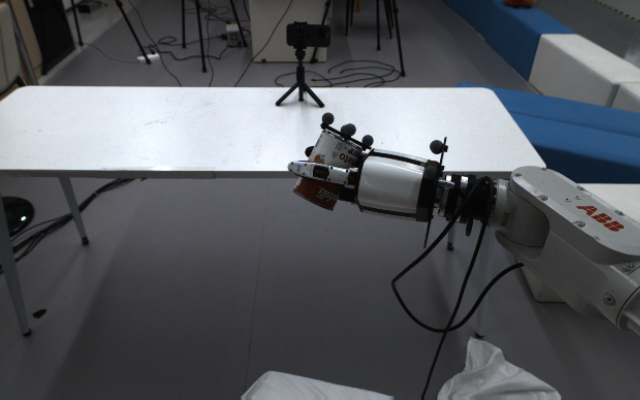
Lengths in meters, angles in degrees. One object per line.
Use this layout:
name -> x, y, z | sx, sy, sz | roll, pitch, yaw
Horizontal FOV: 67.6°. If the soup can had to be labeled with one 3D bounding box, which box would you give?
soup can -> 0.012, -0.044, 0.712 | 0.067, 0.101, 0.067 | 26, 5, -3
